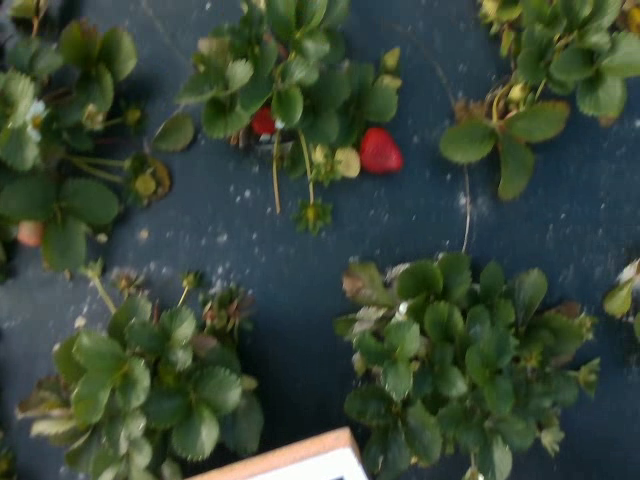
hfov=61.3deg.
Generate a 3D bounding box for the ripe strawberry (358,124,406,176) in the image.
[{"bbox_3d":[0.071,-0.090,0.611,0.048,0.051,0.055,-20,53,-39],"label":"ripe strawberry"}]
